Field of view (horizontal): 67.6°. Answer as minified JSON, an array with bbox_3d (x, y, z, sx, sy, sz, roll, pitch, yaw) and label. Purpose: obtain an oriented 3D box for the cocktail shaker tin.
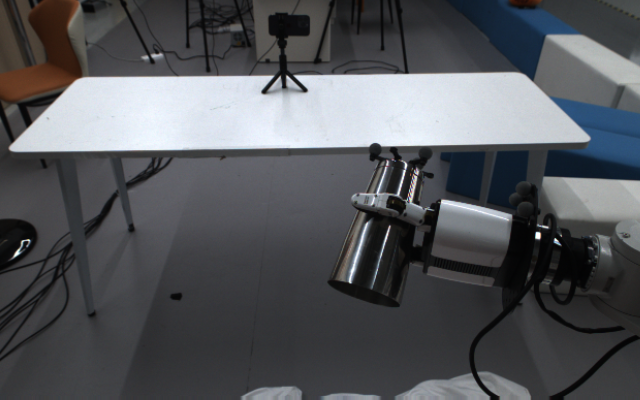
[{"bbox_3d":[0.078,0.037,0.608,0.093,0.093,0.170,14,70,17],"label":"cocktail shaker tin"}]
